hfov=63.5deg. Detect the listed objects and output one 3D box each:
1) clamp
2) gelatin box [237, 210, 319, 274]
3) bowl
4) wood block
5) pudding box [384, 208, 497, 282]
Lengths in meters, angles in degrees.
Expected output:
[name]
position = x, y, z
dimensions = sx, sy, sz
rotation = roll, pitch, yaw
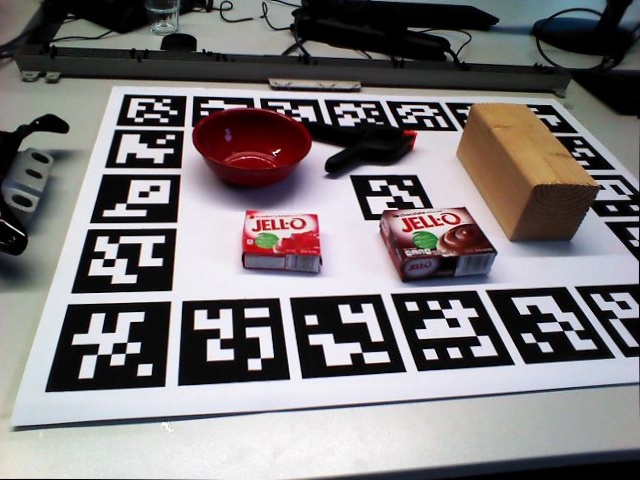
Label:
[clamp]
position = 0.059, -0.141, 0.771
dimensions = 0.165, 0.037, 0.121
rotation = -8, 44, -18
[gelatin box]
position = -0.046, 0.000, 0.592
dimensions = 0.089, 0.030, 0.073
rotation = 4, 44, -3
[bowl]
position = -0.093, -0.118, 0.708
dimensions = 0.162, 0.055, 0.160
rotation = 5, 45, -5
[wood block]
position = 0.283, -0.098, 0.701
dimensions = 0.090, 0.091, 0.205
rotation = 1, 43, -8
[pudding box]
position = 0.140, 0.003, 0.610
dimensions = 0.114, 0.039, 0.089
rotation = -3, 47, -8
